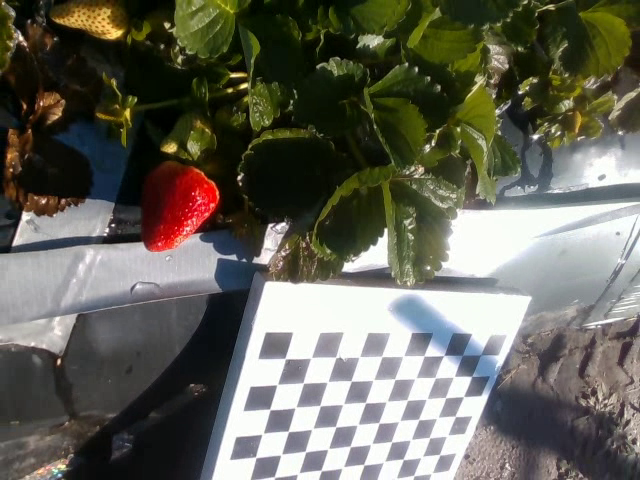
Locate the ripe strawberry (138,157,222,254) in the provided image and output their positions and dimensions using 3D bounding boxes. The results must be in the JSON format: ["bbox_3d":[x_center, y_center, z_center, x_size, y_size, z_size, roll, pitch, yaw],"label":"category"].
[{"bbox_3d":[-0.096,-0.014,0.396,0.057,0.065,0.062,-13,-41,33],"label":"ripe strawberry"}]
